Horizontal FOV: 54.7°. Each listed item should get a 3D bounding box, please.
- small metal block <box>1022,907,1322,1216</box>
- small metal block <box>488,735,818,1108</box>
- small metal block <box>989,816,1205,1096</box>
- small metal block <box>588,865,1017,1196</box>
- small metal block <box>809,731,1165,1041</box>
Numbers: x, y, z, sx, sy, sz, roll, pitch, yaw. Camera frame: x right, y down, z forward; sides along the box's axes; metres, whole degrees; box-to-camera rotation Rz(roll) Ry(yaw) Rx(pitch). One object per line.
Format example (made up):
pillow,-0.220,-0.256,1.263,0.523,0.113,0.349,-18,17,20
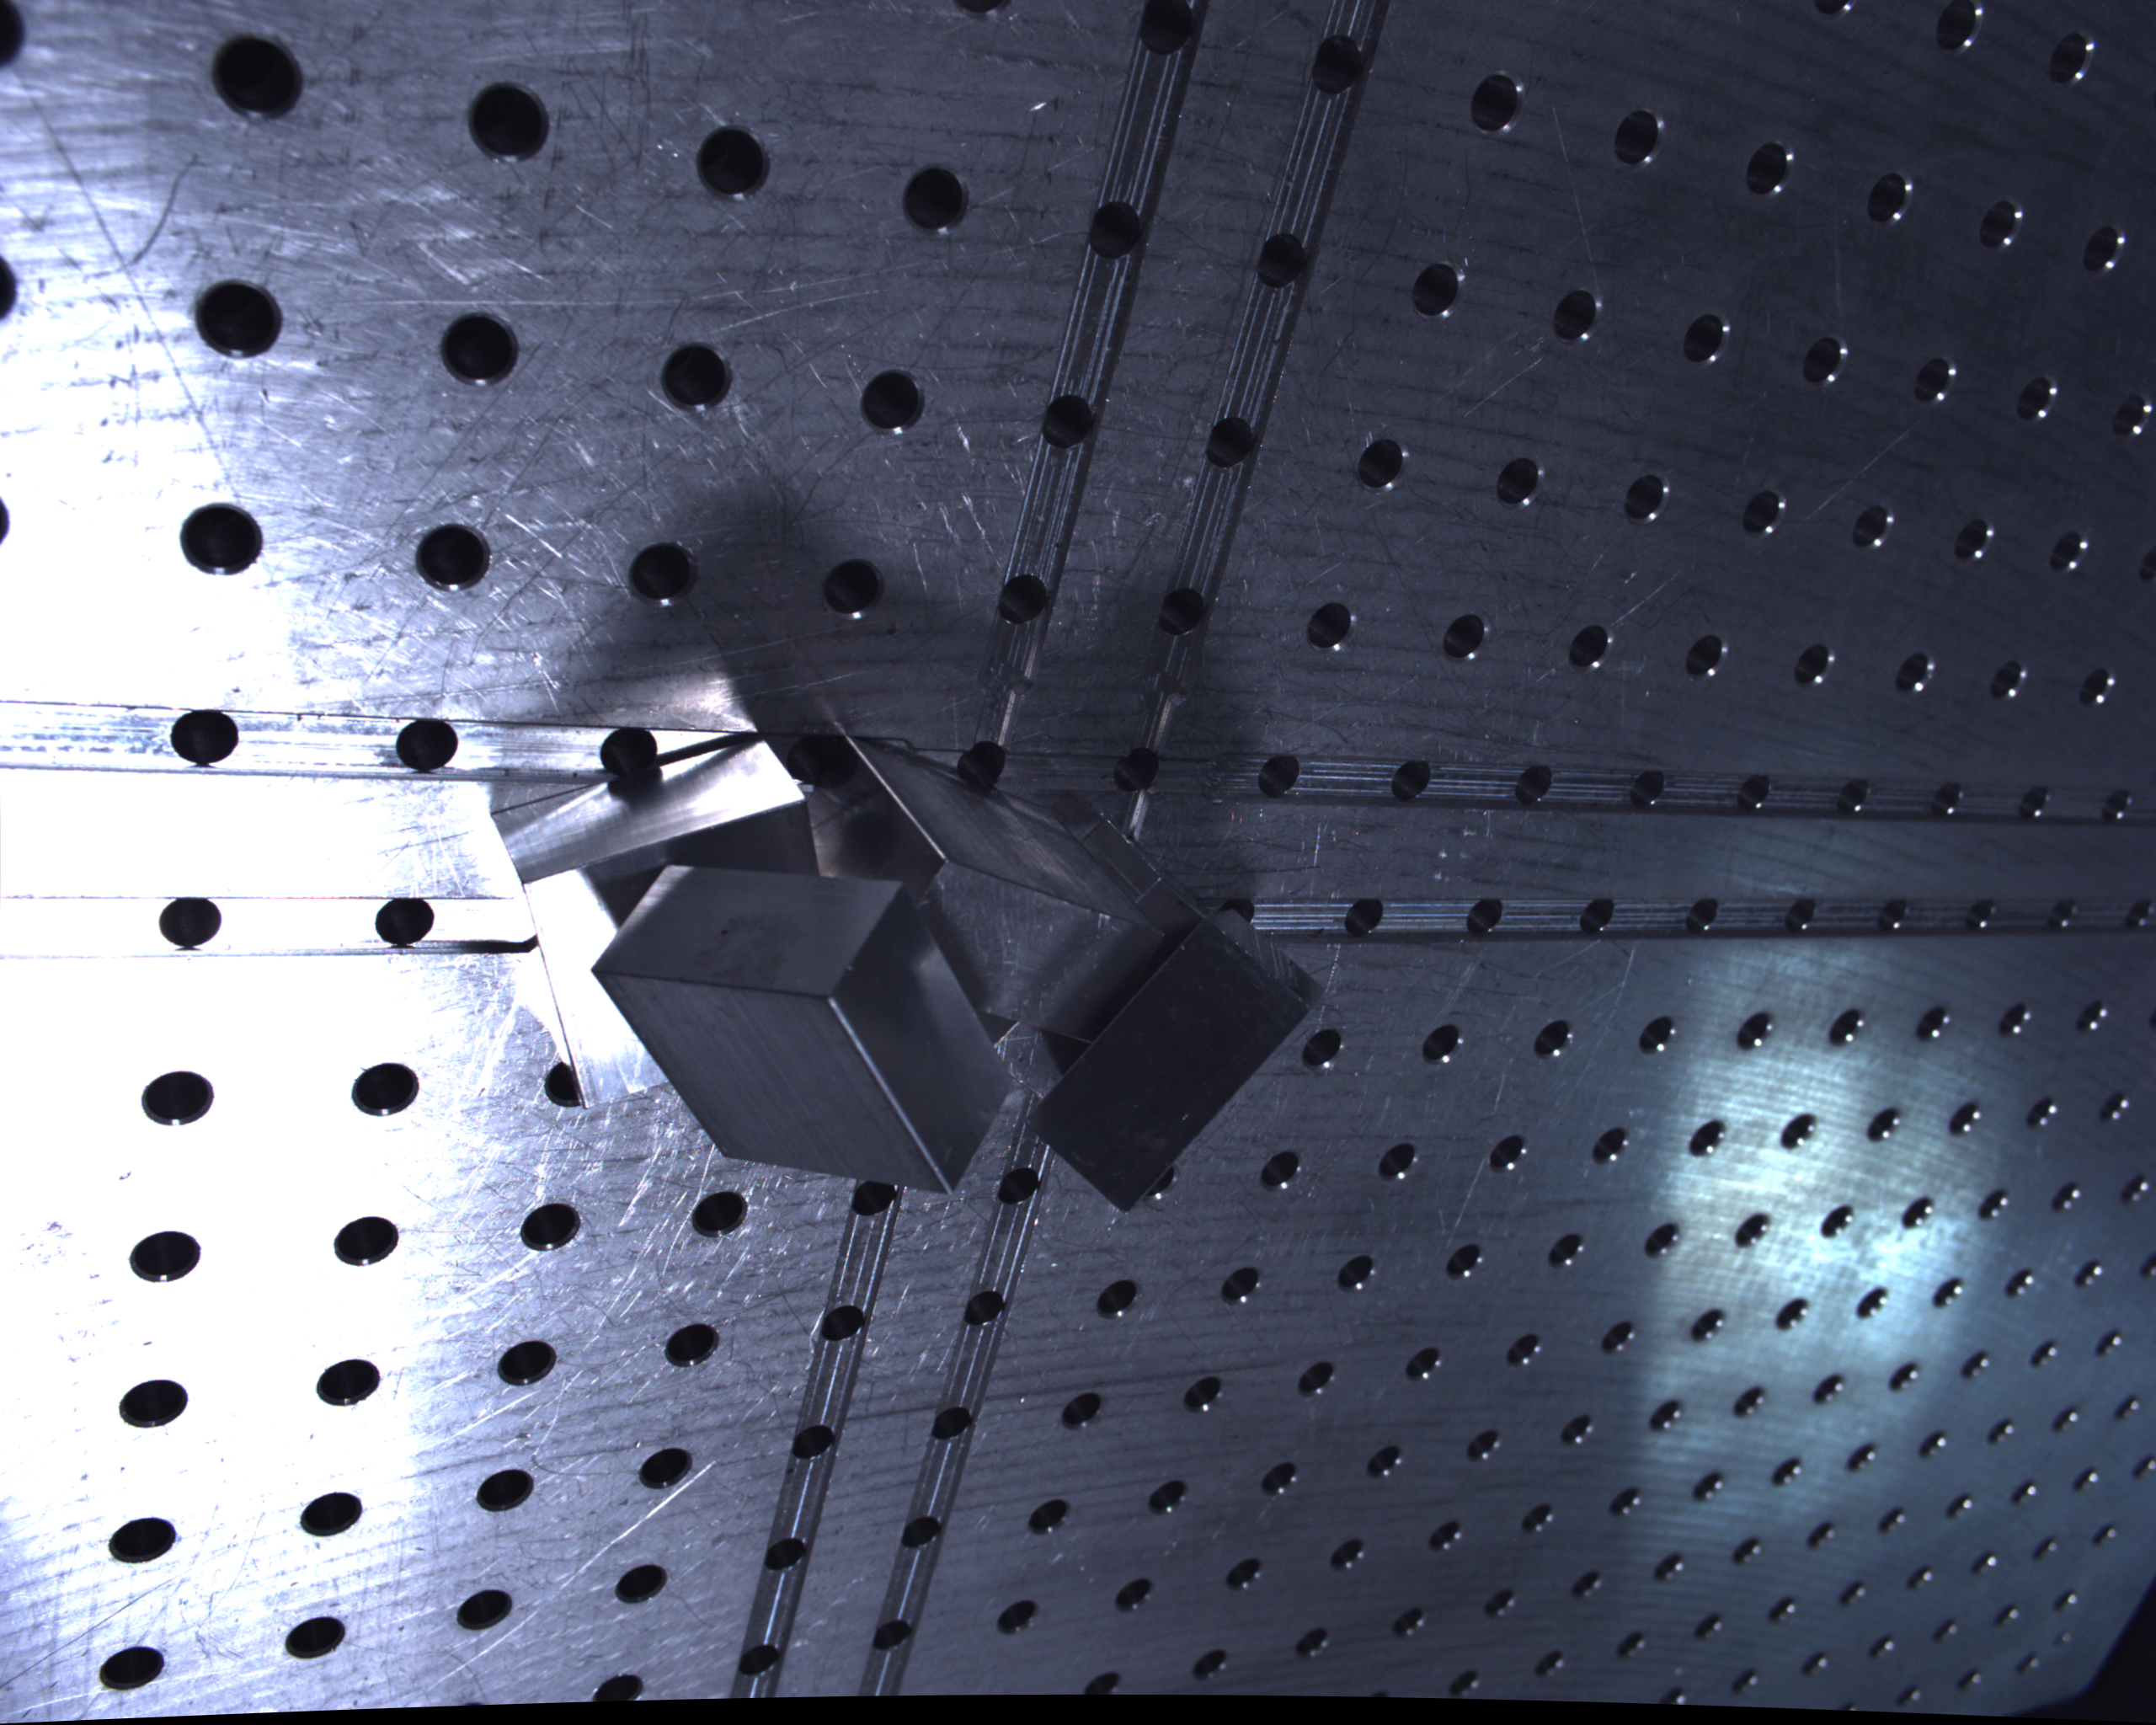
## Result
small metal block,0.020,0.036,0.395,0.050,0.025,0.050,-49,173,6
small metal block,-0.074,0.010,0.379,0.050,0.025,0.050,-18,126,-18
small metal block,0.008,0.027,0.434,0.050,0.025,0.050,-46,130,3
small metal block,-0.046,0.028,0.353,0.025,0.050,0.050,-61,141,-36
small metal block,-0.020,0.005,0.388,0.050,0.050,0.025,20,108,-36
